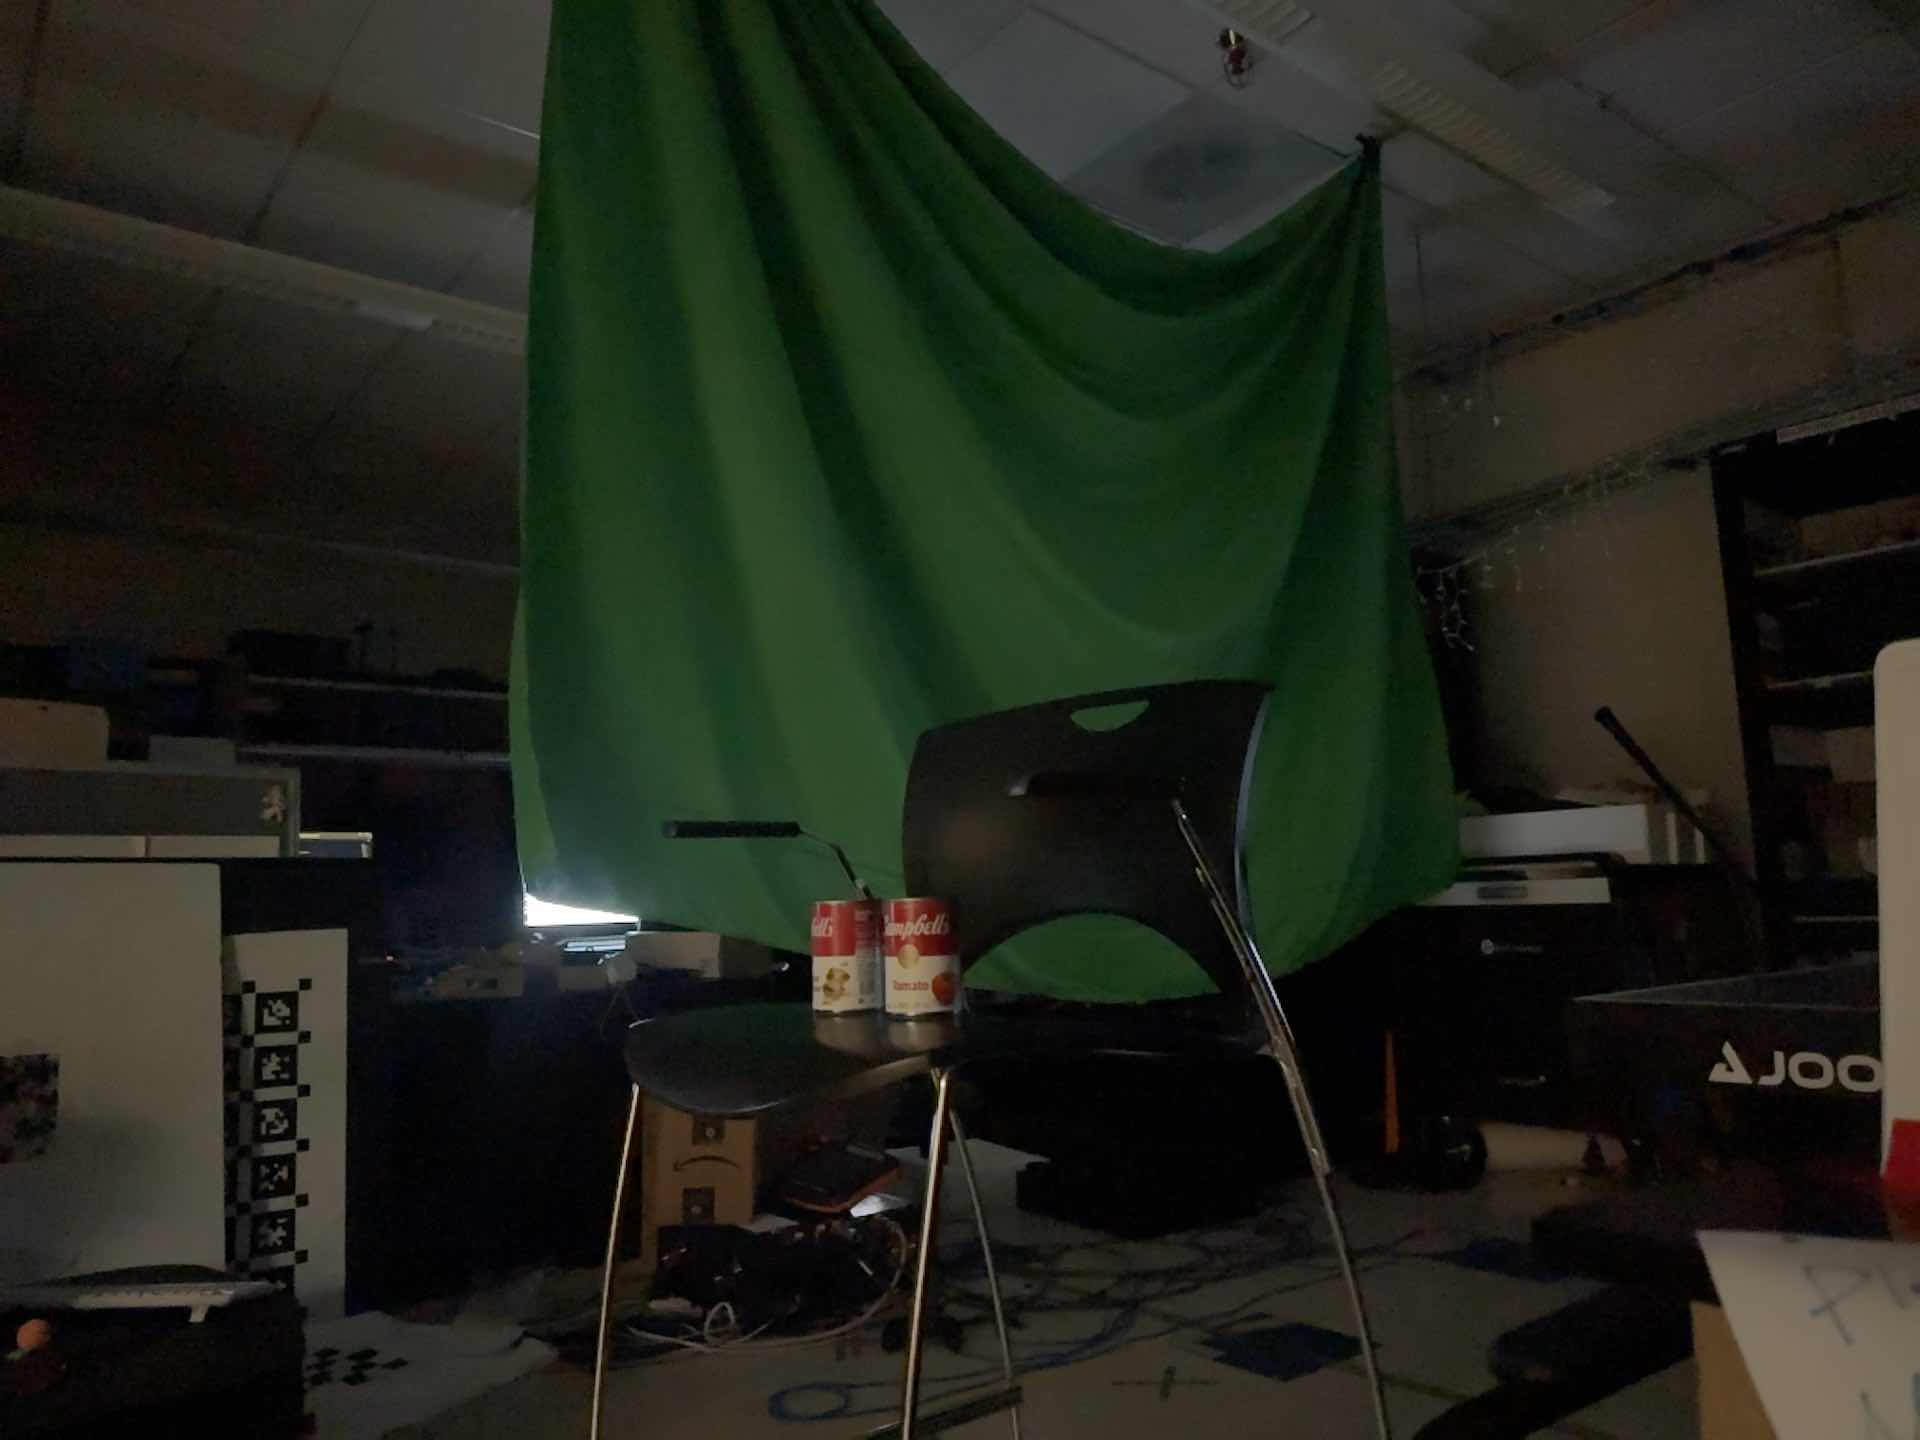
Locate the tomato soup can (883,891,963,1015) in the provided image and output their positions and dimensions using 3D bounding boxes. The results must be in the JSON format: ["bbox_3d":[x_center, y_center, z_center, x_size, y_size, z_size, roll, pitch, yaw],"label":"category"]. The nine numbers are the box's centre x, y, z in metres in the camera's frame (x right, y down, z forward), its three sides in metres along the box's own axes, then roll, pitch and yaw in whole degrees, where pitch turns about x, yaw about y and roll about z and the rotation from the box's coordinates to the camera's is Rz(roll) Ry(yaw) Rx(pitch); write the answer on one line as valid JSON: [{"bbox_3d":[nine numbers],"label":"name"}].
[{"bbox_3d":[-0.032,0.200,1.167,0.067,0.102,0.067,-1,-4,0],"label":"tomato soup can"}]

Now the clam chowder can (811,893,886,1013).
[{"bbox_3d":[-0.102,0.213,1.240,0.068,0.102,0.068,-1,-3,0],"label":"clam chowder can"}]
